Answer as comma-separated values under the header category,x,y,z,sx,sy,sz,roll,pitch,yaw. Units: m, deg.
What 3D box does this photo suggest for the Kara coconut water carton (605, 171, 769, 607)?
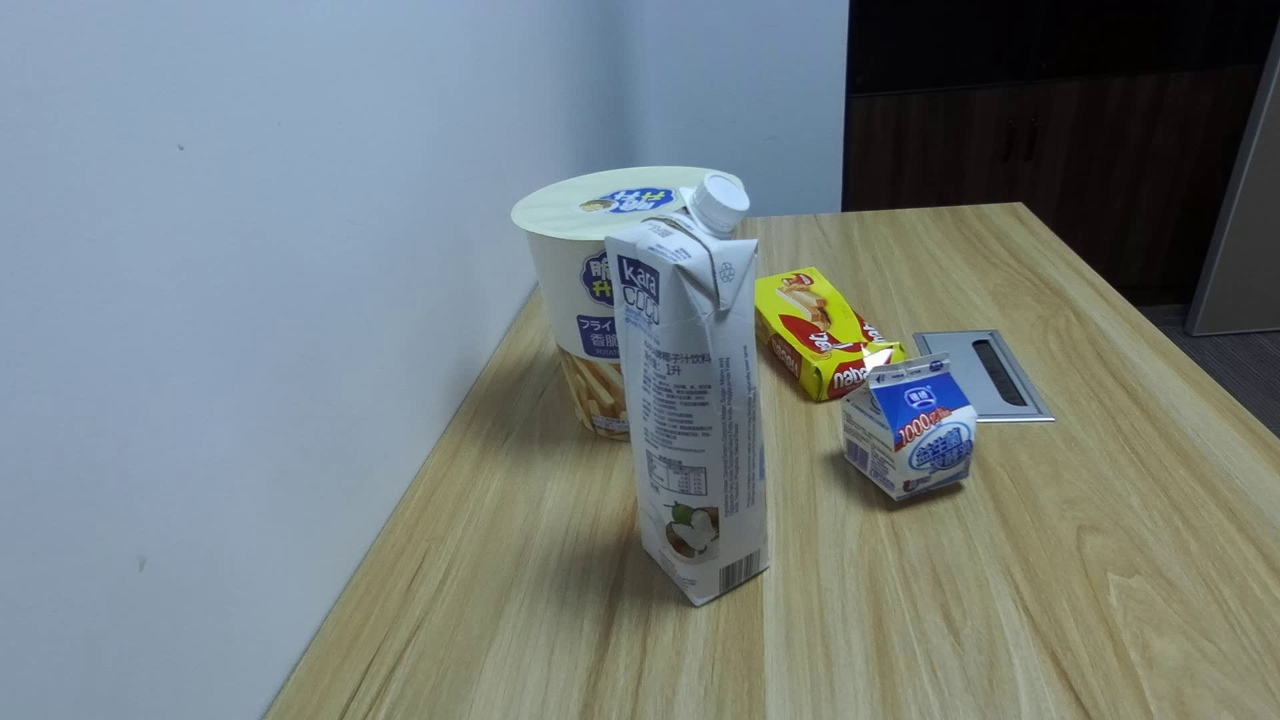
category,x,y,z,sx,sy,sz,roll,pitch,yaw
Kara coconut water carton,0.035,0.023,0.419,0.078,0.256,0.083,-12,29,-12

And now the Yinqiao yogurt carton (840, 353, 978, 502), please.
category,x,y,z,sx,sy,sz,roll,pitch,yaw
Yinqiao yogurt carton,0.199,0.042,0.517,0.074,0.097,0.080,-13,22,-13

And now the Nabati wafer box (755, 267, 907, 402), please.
category,x,y,z,sx,sy,sz,roll,pitch,yaw
Nabati wafer box,0.182,-0.031,0.712,0.107,0.042,0.203,-12,31,-7

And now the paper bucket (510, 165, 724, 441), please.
category,x,y,z,sx,sy,sz,roll,pitch,yaw
paper bucket,0.001,-0.051,0.626,0.198,0.195,0.198,-4,31,3
